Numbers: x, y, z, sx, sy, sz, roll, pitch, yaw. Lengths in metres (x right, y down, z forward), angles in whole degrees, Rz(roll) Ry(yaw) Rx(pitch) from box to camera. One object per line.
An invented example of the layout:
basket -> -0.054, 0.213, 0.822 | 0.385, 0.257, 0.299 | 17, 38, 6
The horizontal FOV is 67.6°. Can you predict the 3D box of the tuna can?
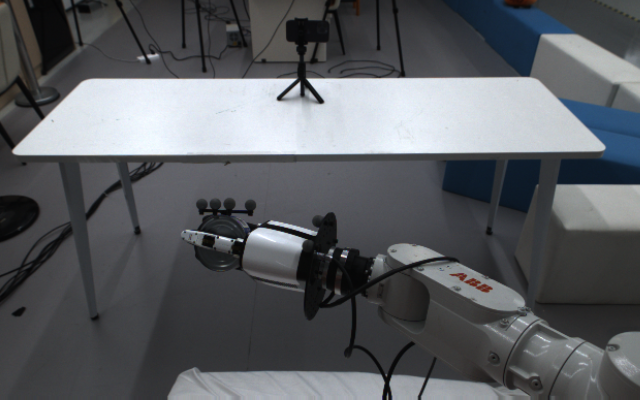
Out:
tuna can -> -0.145, 0.067, 0.739 | 0.085, 0.085, 0.034 | 11, -1, 12
